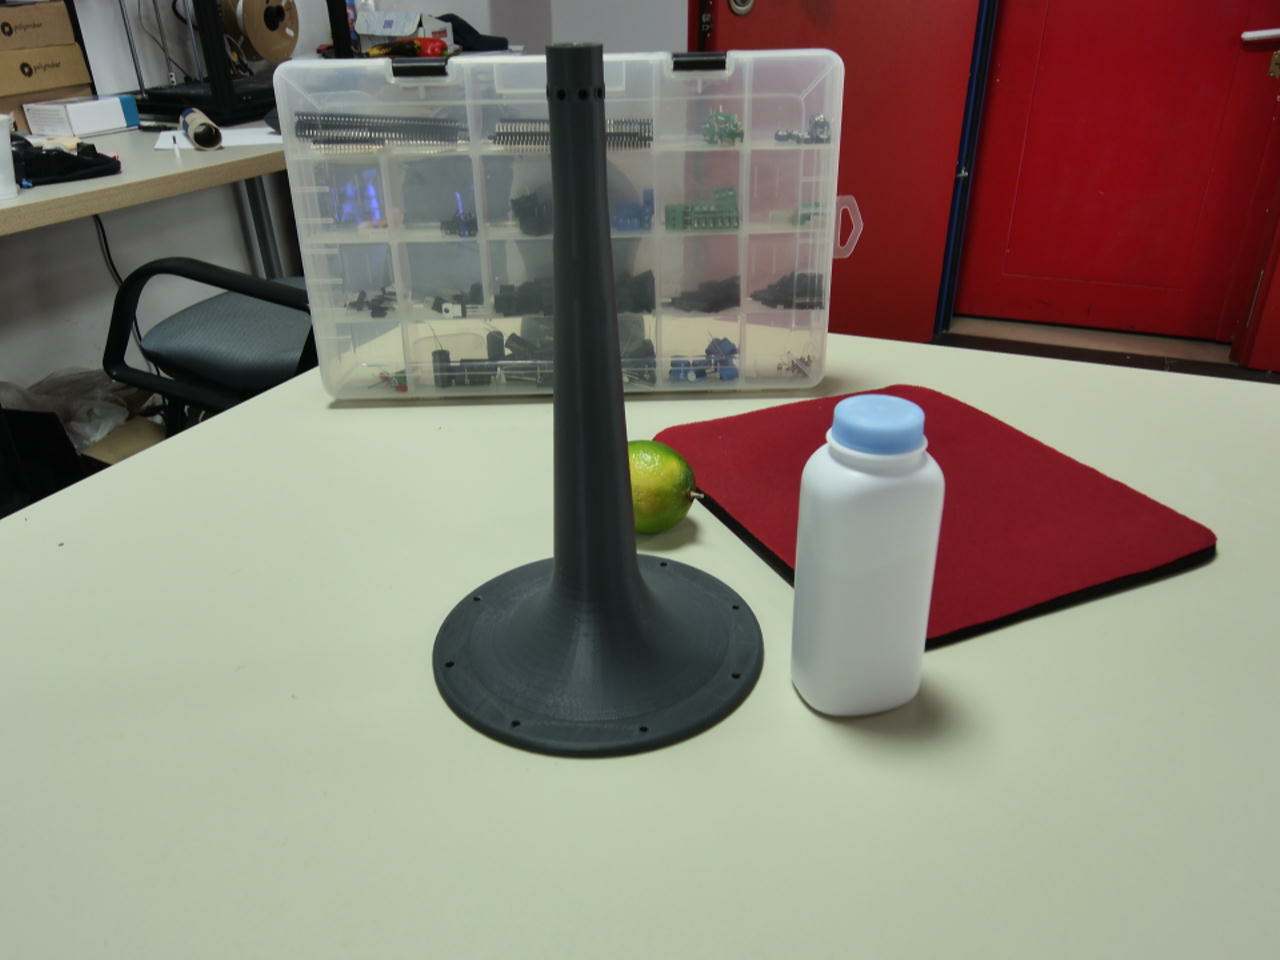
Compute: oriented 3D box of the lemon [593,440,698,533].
[{"bbox_3d":[0.002,0.003,0.550,0.054,0.050,0.055,-6,26,-14],"label":"lemon"}]
